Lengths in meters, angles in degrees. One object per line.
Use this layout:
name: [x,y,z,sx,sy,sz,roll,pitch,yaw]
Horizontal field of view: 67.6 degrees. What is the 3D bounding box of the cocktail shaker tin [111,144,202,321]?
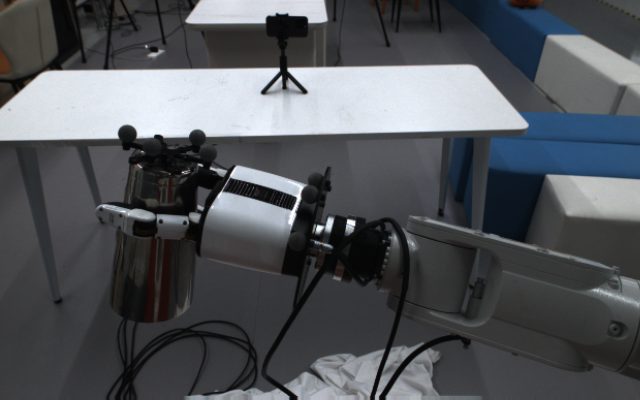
cocktail shaker tin: [-0.170,0.034,0.522,0.093,0.170,0.093,12,25,-6]
